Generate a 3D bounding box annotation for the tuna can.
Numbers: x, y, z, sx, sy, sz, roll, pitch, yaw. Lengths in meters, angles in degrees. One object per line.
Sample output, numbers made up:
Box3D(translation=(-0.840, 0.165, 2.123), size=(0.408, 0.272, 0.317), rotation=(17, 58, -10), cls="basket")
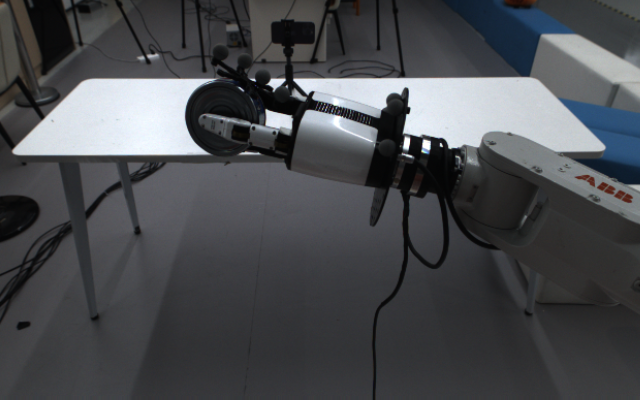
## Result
Box3D(translation=(-0.103, -0.087, 0.543), size=(0.085, 0.085, 0.034), rotation=(6, 19, 6), cls="tuna can")
